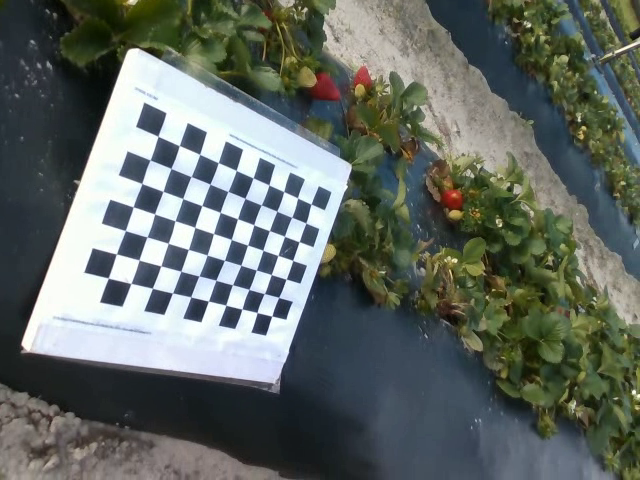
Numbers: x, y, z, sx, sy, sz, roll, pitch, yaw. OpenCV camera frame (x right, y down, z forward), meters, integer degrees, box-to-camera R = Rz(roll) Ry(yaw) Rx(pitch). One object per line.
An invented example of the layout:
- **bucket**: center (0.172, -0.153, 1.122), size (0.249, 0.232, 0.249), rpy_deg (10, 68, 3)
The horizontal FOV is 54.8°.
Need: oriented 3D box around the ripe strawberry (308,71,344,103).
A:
- **ripe strawberry**: center (0.013, -0.250, 1.014), size (0.055, 0.051, 0.048), rpy_deg (39, -24, 16)
